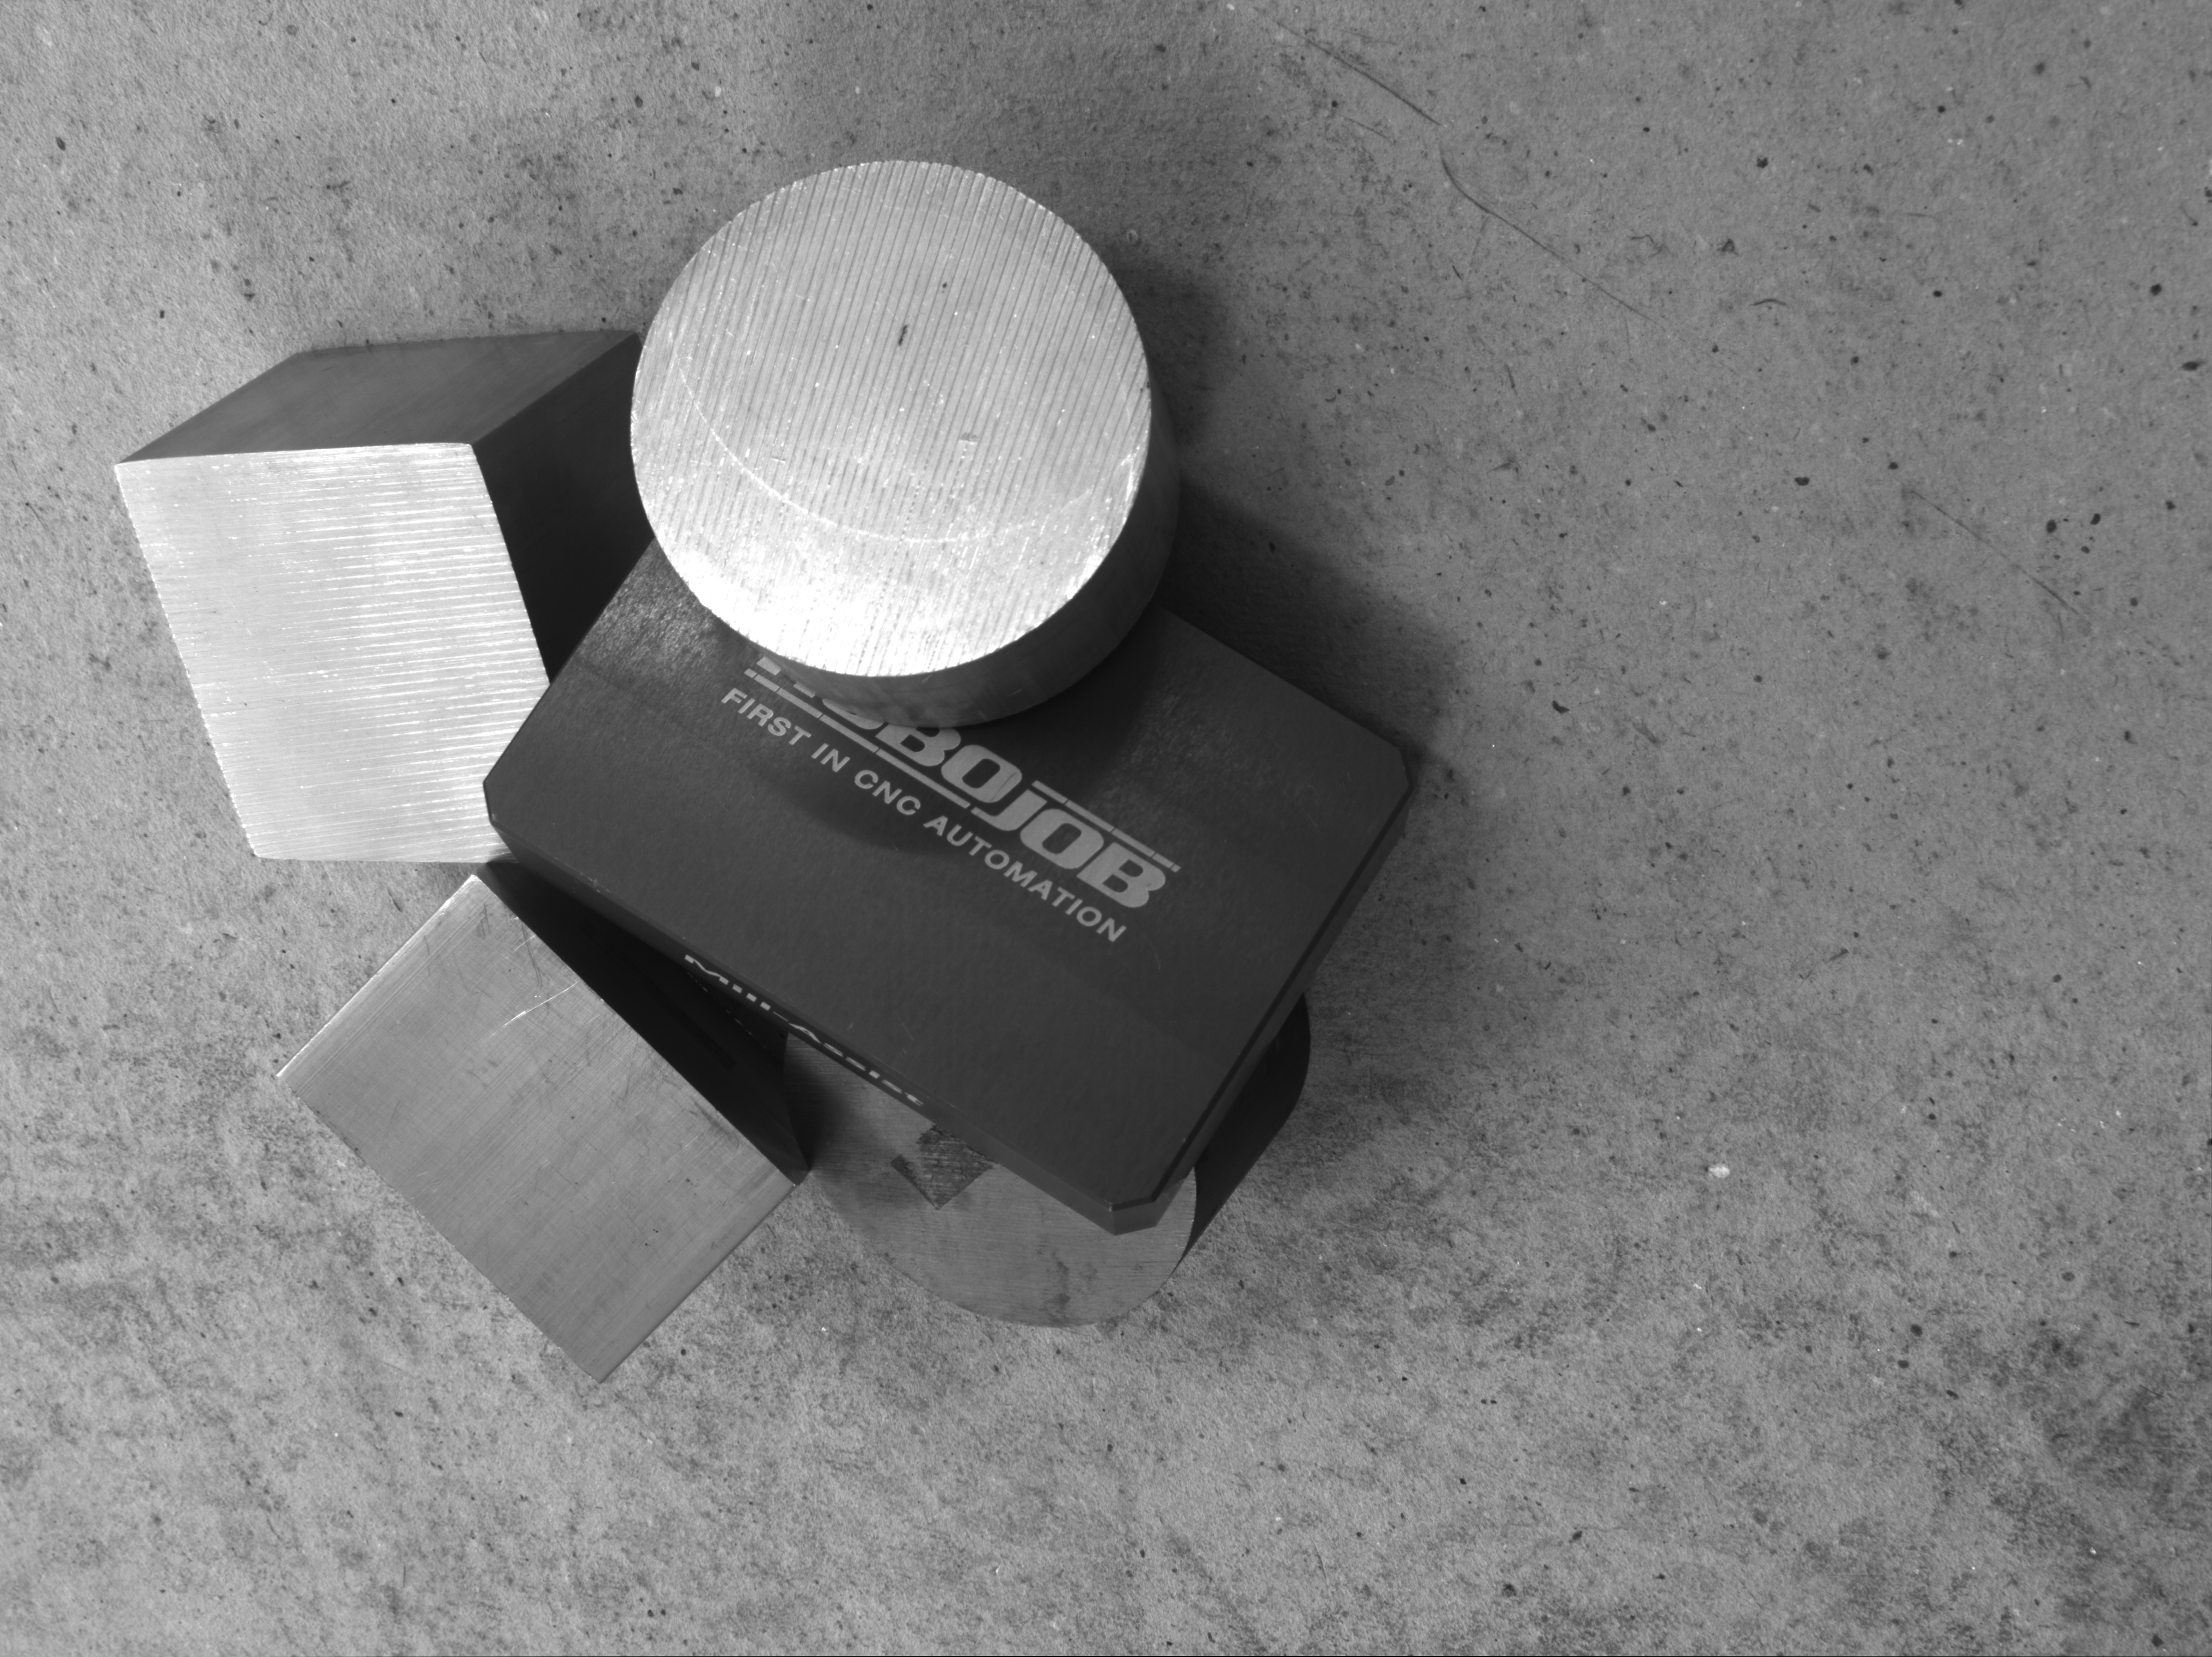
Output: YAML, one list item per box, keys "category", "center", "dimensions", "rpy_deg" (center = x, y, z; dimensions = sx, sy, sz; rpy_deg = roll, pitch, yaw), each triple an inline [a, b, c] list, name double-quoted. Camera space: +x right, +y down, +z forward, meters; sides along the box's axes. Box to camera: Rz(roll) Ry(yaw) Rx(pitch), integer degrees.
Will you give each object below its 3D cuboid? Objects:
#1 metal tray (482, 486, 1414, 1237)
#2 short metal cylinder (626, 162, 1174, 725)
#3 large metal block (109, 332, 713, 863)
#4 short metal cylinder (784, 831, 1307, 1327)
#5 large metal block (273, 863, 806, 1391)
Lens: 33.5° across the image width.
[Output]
- category: "metal tray"
  center: [-0.026, -0.003, 0.614]
  dimensions: [0.130, 0.090, 0.030]
  rpy_deg: [31, 168, 8]
- category: "short metal cylinder"
  center: [-0.031, -0.059, 0.582]
  dimensions: [0.080, 0.050, 0.080]
  rpy_deg: [-1, 83, 6]
- category: "large metal block"
  center: [-0.121, -0.041, 0.664]
  dimensions: [0.080, 0.050, 0.080]
  rpy_deg: [1, 119, 28]
- category: "short metal cylinder"
  center: [-0.010, 0.042, 0.659]
  dimensions: [0.080, 0.050, 0.080]
  rpy_deg: [13, 124, 21]
- category: "large metal block"
  center: [-0.099, 0.050, 0.683]
  dimensions: [0.080, 0.080, 0.050]
  rpy_deg: [45, 94, -3]
